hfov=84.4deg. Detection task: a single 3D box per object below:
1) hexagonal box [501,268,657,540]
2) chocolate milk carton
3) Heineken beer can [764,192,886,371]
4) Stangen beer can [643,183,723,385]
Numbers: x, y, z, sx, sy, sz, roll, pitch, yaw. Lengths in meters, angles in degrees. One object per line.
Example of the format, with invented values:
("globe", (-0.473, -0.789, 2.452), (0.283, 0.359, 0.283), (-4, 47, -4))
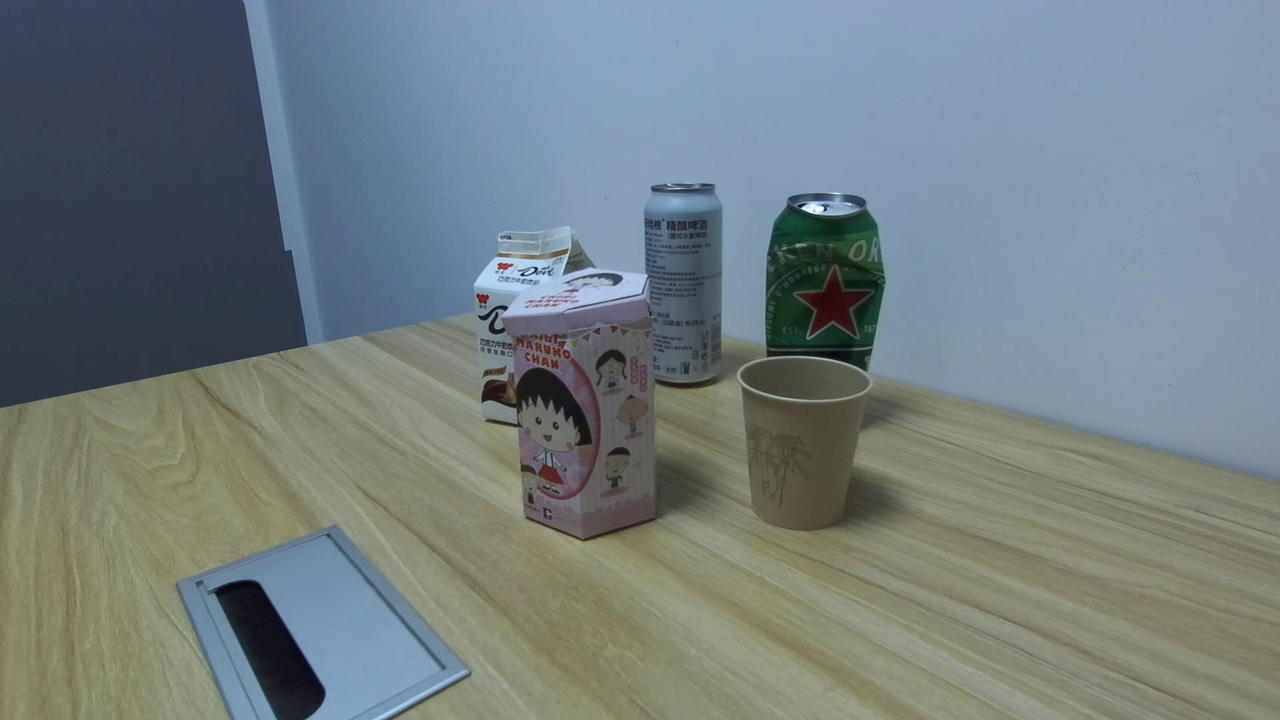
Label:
("hexagonal box", (-0.029, 0.022, 0.413), (0.091, 0.135, 0.085), (11, 23, 34))
("chocolate milk carton", (-0.076, -0.030, 0.551), (0.075, 0.148, 0.074), (11, 25, 25))
("Heineken beer can", (0.127, -0.030, 0.504), (0.068, 0.168, 0.069), (19, 30, 41))
("Stangen beer can", (0.038, -0.064, 0.613), (0.067, 0.171, 0.067), (-2, 16, 1))
